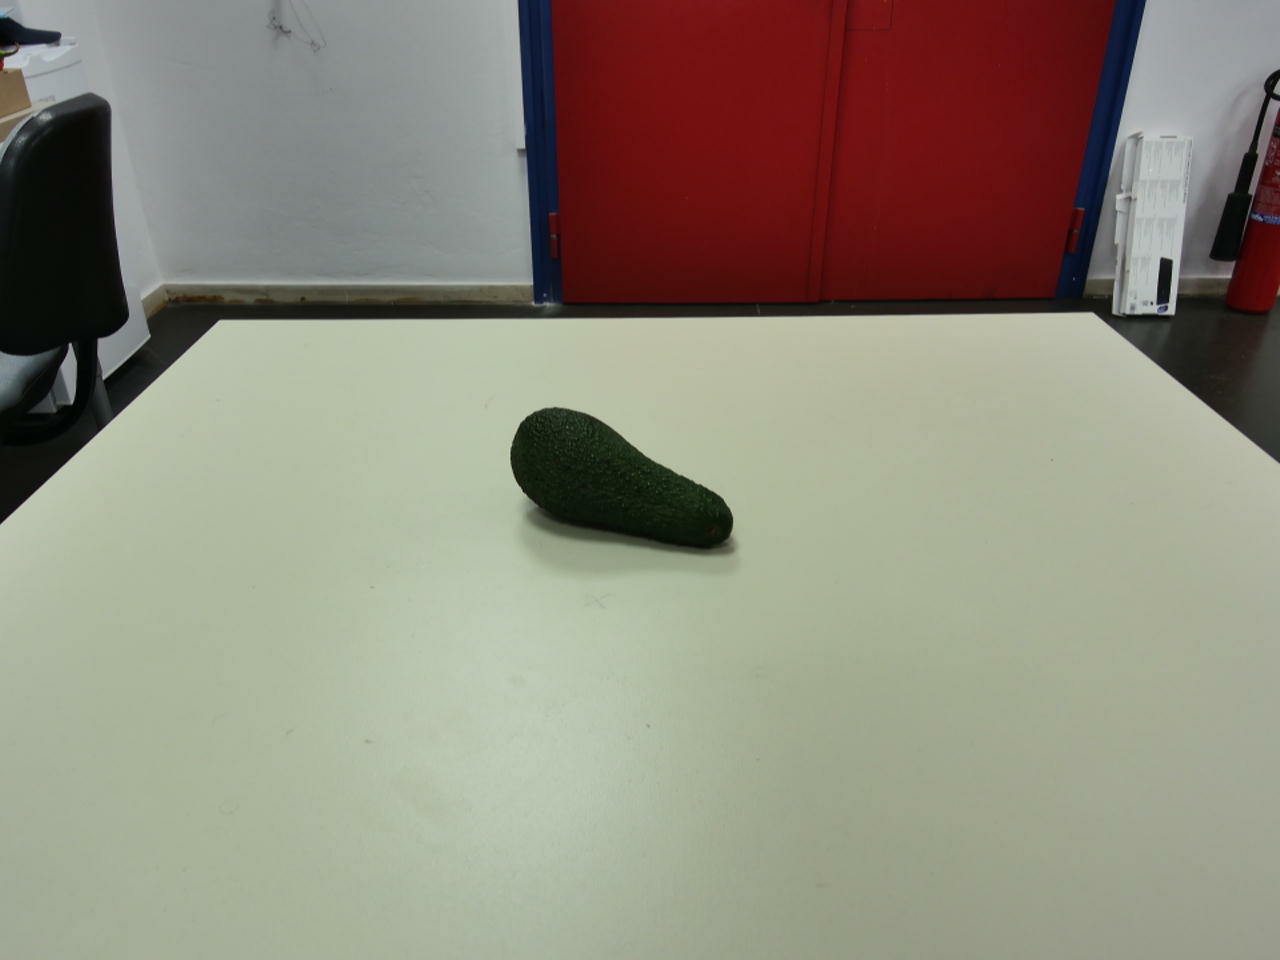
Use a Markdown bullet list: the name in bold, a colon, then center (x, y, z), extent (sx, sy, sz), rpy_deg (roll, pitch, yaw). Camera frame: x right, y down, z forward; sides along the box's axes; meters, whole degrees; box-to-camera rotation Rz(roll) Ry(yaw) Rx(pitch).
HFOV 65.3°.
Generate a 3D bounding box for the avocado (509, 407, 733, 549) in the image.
- **avocado**: center (-0.010, -0.005, 0.576), extent (0.141, 0.067, 0.063), rpy_deg (7, 27, 13)
